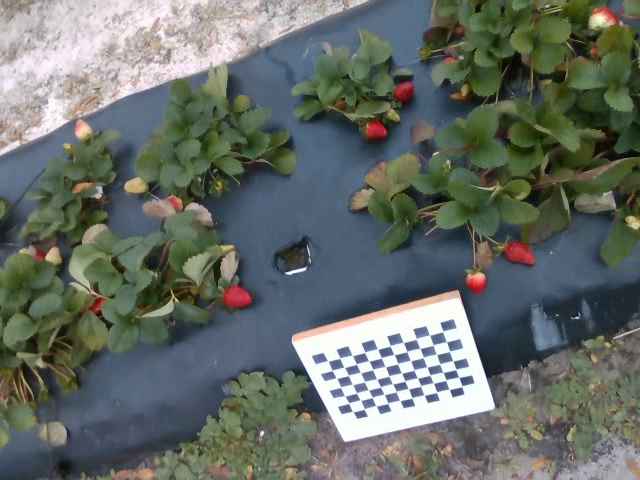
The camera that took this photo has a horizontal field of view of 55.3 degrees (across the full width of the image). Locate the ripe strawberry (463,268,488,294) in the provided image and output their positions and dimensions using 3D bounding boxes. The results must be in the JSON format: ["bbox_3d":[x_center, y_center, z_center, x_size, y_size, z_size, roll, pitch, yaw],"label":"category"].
[{"bbox_3d":[0.259,0.071,0.980,0.036,0.041,0.028,-12,14,20],"label":"ripe strawberry"}]

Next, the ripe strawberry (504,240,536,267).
[{"bbox_3d":[0.321,0.022,0.963,0.059,0.044,0.042,34,41,6],"label":"ripe strawberry"}]

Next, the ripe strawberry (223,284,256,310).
[{"bbox_3d":[-0.147,0.104,1.074,0.064,0.046,0.049,12,47,33],"label":"ripe strawberry"}]
